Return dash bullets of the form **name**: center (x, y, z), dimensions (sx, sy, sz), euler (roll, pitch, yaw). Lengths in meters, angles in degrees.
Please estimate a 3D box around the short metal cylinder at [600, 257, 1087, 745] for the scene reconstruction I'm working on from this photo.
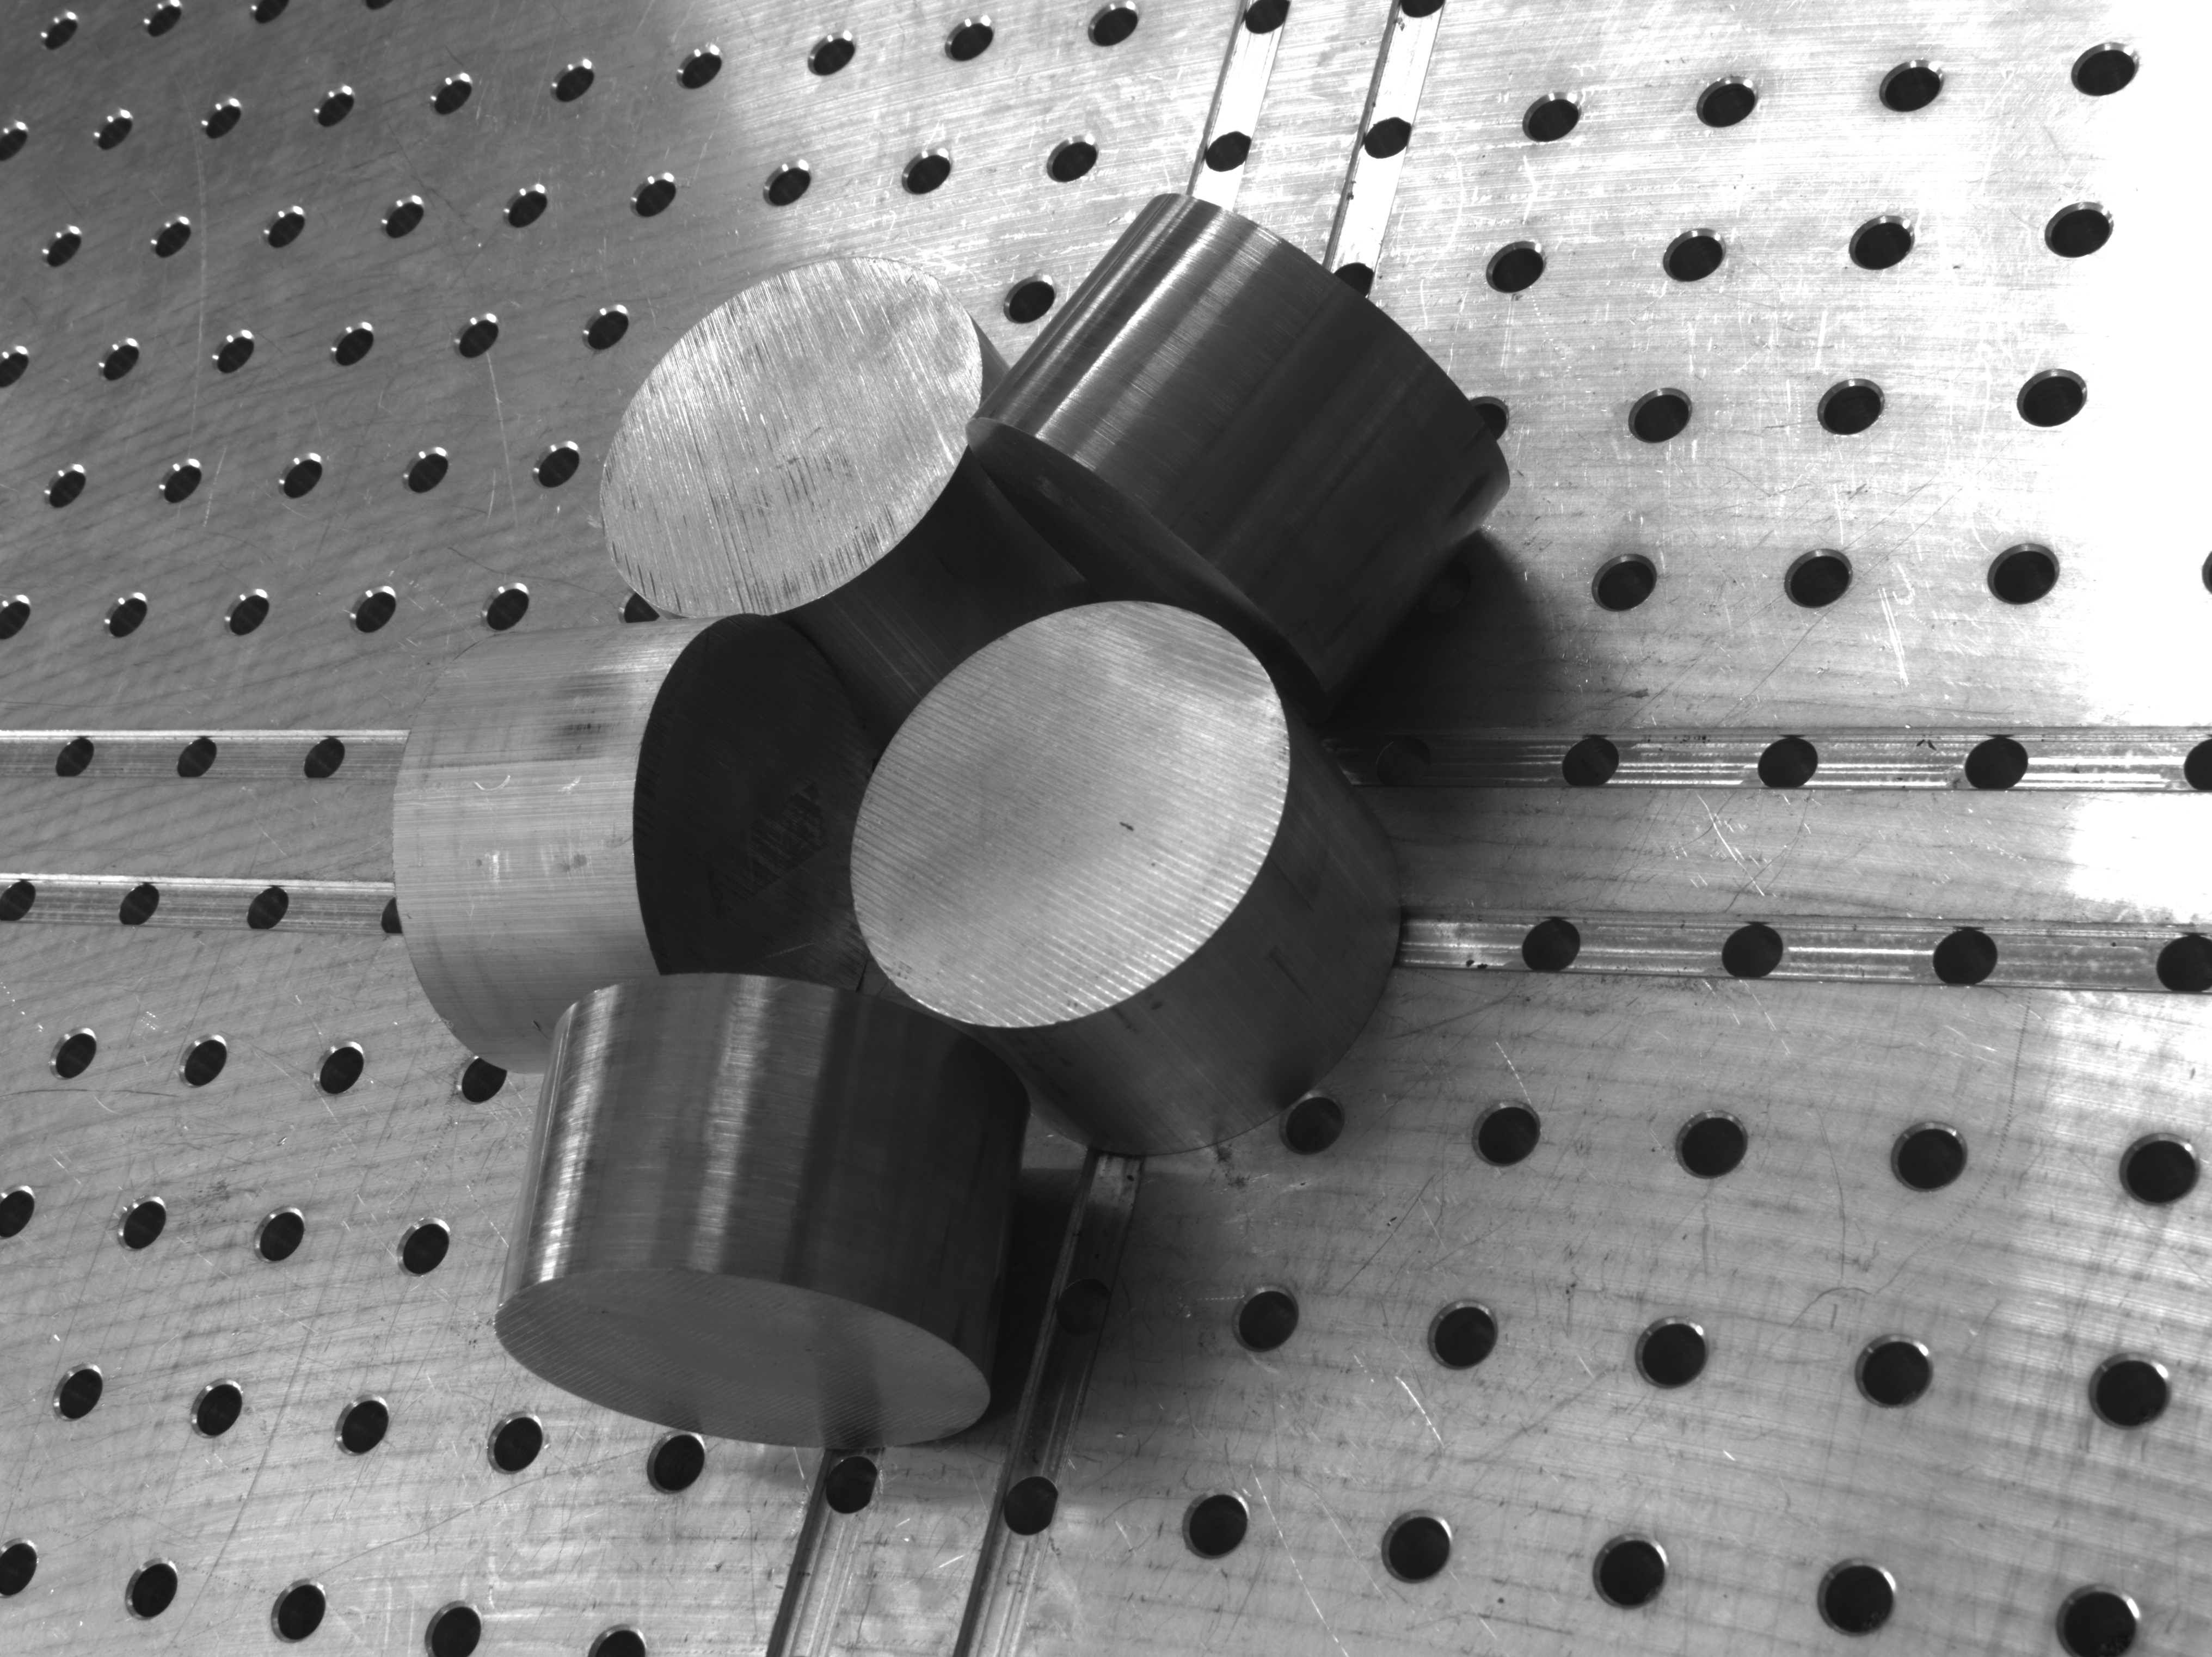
- **short metal cylinder**: center (-0.048, -0.060, 0.695), dimensions (0.080, 0.050, 0.080), euler (-14, 55, 22)

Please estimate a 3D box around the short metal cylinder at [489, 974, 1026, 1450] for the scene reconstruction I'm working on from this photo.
- **short metal cylinder**: center (-0.056, 0.064, 0.603), dimensions (0.080, 0.080, 0.050), euler (-6, 59, 25)

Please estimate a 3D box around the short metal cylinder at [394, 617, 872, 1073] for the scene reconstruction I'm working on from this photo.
- **short metal cylinder**: center (-0.082, 0.004, 0.656), dimensions (0.050, 0.080, 0.080), euler (-2, 61, 27)

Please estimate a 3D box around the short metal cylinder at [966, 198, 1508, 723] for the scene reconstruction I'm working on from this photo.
- **short metal cylinder**: center (0.023, -0.063, 0.640), dimensions (0.080, 0.080, 0.050), euler (32, 79, 38)

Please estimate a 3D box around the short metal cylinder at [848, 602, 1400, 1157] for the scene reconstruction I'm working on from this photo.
- **short metal cylinder**: center (0.003, 0.009, 0.625), dimensions (0.080, 0.050, 0.080), euler (-13, 56, 21)
